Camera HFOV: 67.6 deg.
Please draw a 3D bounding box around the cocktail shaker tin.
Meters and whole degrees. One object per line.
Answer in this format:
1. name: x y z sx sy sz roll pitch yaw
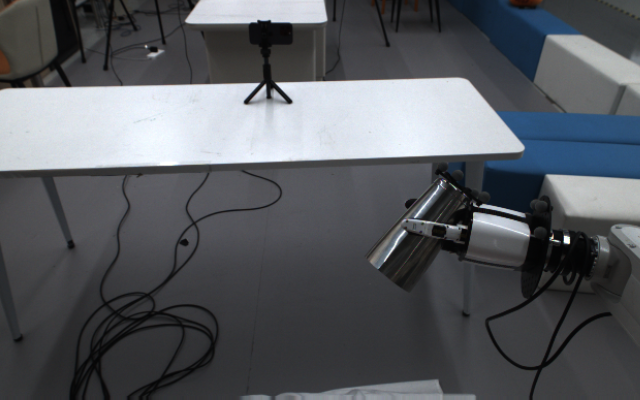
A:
1. cocktail shaker tin: 0.160 0.047 0.767 0.170 0.093 0.093 -50 46 4
